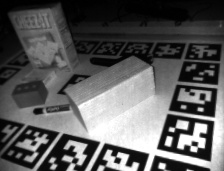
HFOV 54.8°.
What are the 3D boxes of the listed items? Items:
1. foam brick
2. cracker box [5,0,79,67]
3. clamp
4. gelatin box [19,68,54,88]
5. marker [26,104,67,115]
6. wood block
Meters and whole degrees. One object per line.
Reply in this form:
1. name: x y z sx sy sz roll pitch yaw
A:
1. foam brick: -0.249 0.024 0.636 0.078 0.052 0.052 -11 42 6
2. cracker box: -0.221 -0.163 0.709 0.162 0.215 0.072 5 43 21
3. clamp: 0.016 -0.071 0.673 0.202 0.037 0.164 -14 40 2
4. gelatin box: -0.251 -0.025 0.714 0.088 0.030 0.073 6 46 24
5. marker: -0.178 0.064 0.589 0.120 0.020 0.019 -8 42 10
6. wood block: -0.014 0.016 0.546 0.207 0.092 0.088 -28 39 -18
